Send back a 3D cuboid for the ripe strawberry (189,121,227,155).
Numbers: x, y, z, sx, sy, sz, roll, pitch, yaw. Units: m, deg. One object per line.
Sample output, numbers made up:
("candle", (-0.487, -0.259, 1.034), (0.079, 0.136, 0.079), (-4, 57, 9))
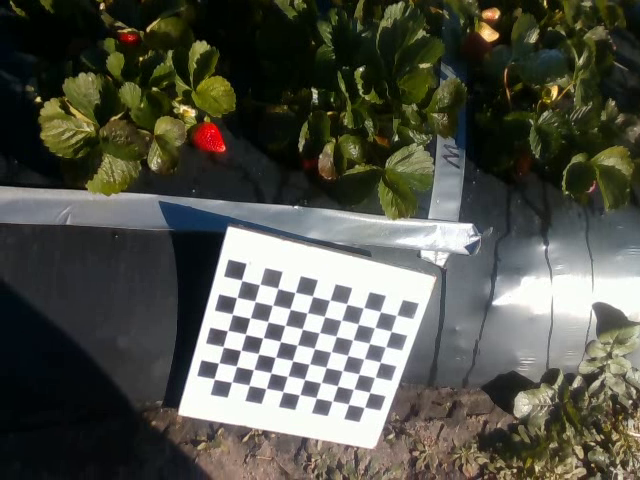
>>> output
("ripe strawberry", (-0.148, -0.135, 0.837), (0.058, 0.046, 0.042), (43, 5, 1))
